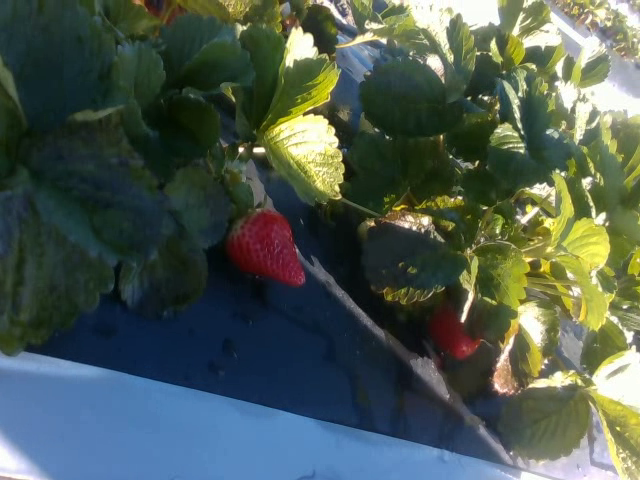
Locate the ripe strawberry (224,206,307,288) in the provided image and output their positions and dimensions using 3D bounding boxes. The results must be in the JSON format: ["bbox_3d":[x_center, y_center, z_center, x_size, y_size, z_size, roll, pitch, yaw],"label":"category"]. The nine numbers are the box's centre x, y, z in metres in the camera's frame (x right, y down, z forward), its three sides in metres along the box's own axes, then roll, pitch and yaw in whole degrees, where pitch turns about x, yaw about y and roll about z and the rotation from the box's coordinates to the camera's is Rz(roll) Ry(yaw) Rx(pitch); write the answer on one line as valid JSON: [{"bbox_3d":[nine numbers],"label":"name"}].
[{"bbox_3d":[-0.027,0.006,0.341,0.045,0.059,0.042,-36,-2,-18],"label":"ripe strawberry"}]
